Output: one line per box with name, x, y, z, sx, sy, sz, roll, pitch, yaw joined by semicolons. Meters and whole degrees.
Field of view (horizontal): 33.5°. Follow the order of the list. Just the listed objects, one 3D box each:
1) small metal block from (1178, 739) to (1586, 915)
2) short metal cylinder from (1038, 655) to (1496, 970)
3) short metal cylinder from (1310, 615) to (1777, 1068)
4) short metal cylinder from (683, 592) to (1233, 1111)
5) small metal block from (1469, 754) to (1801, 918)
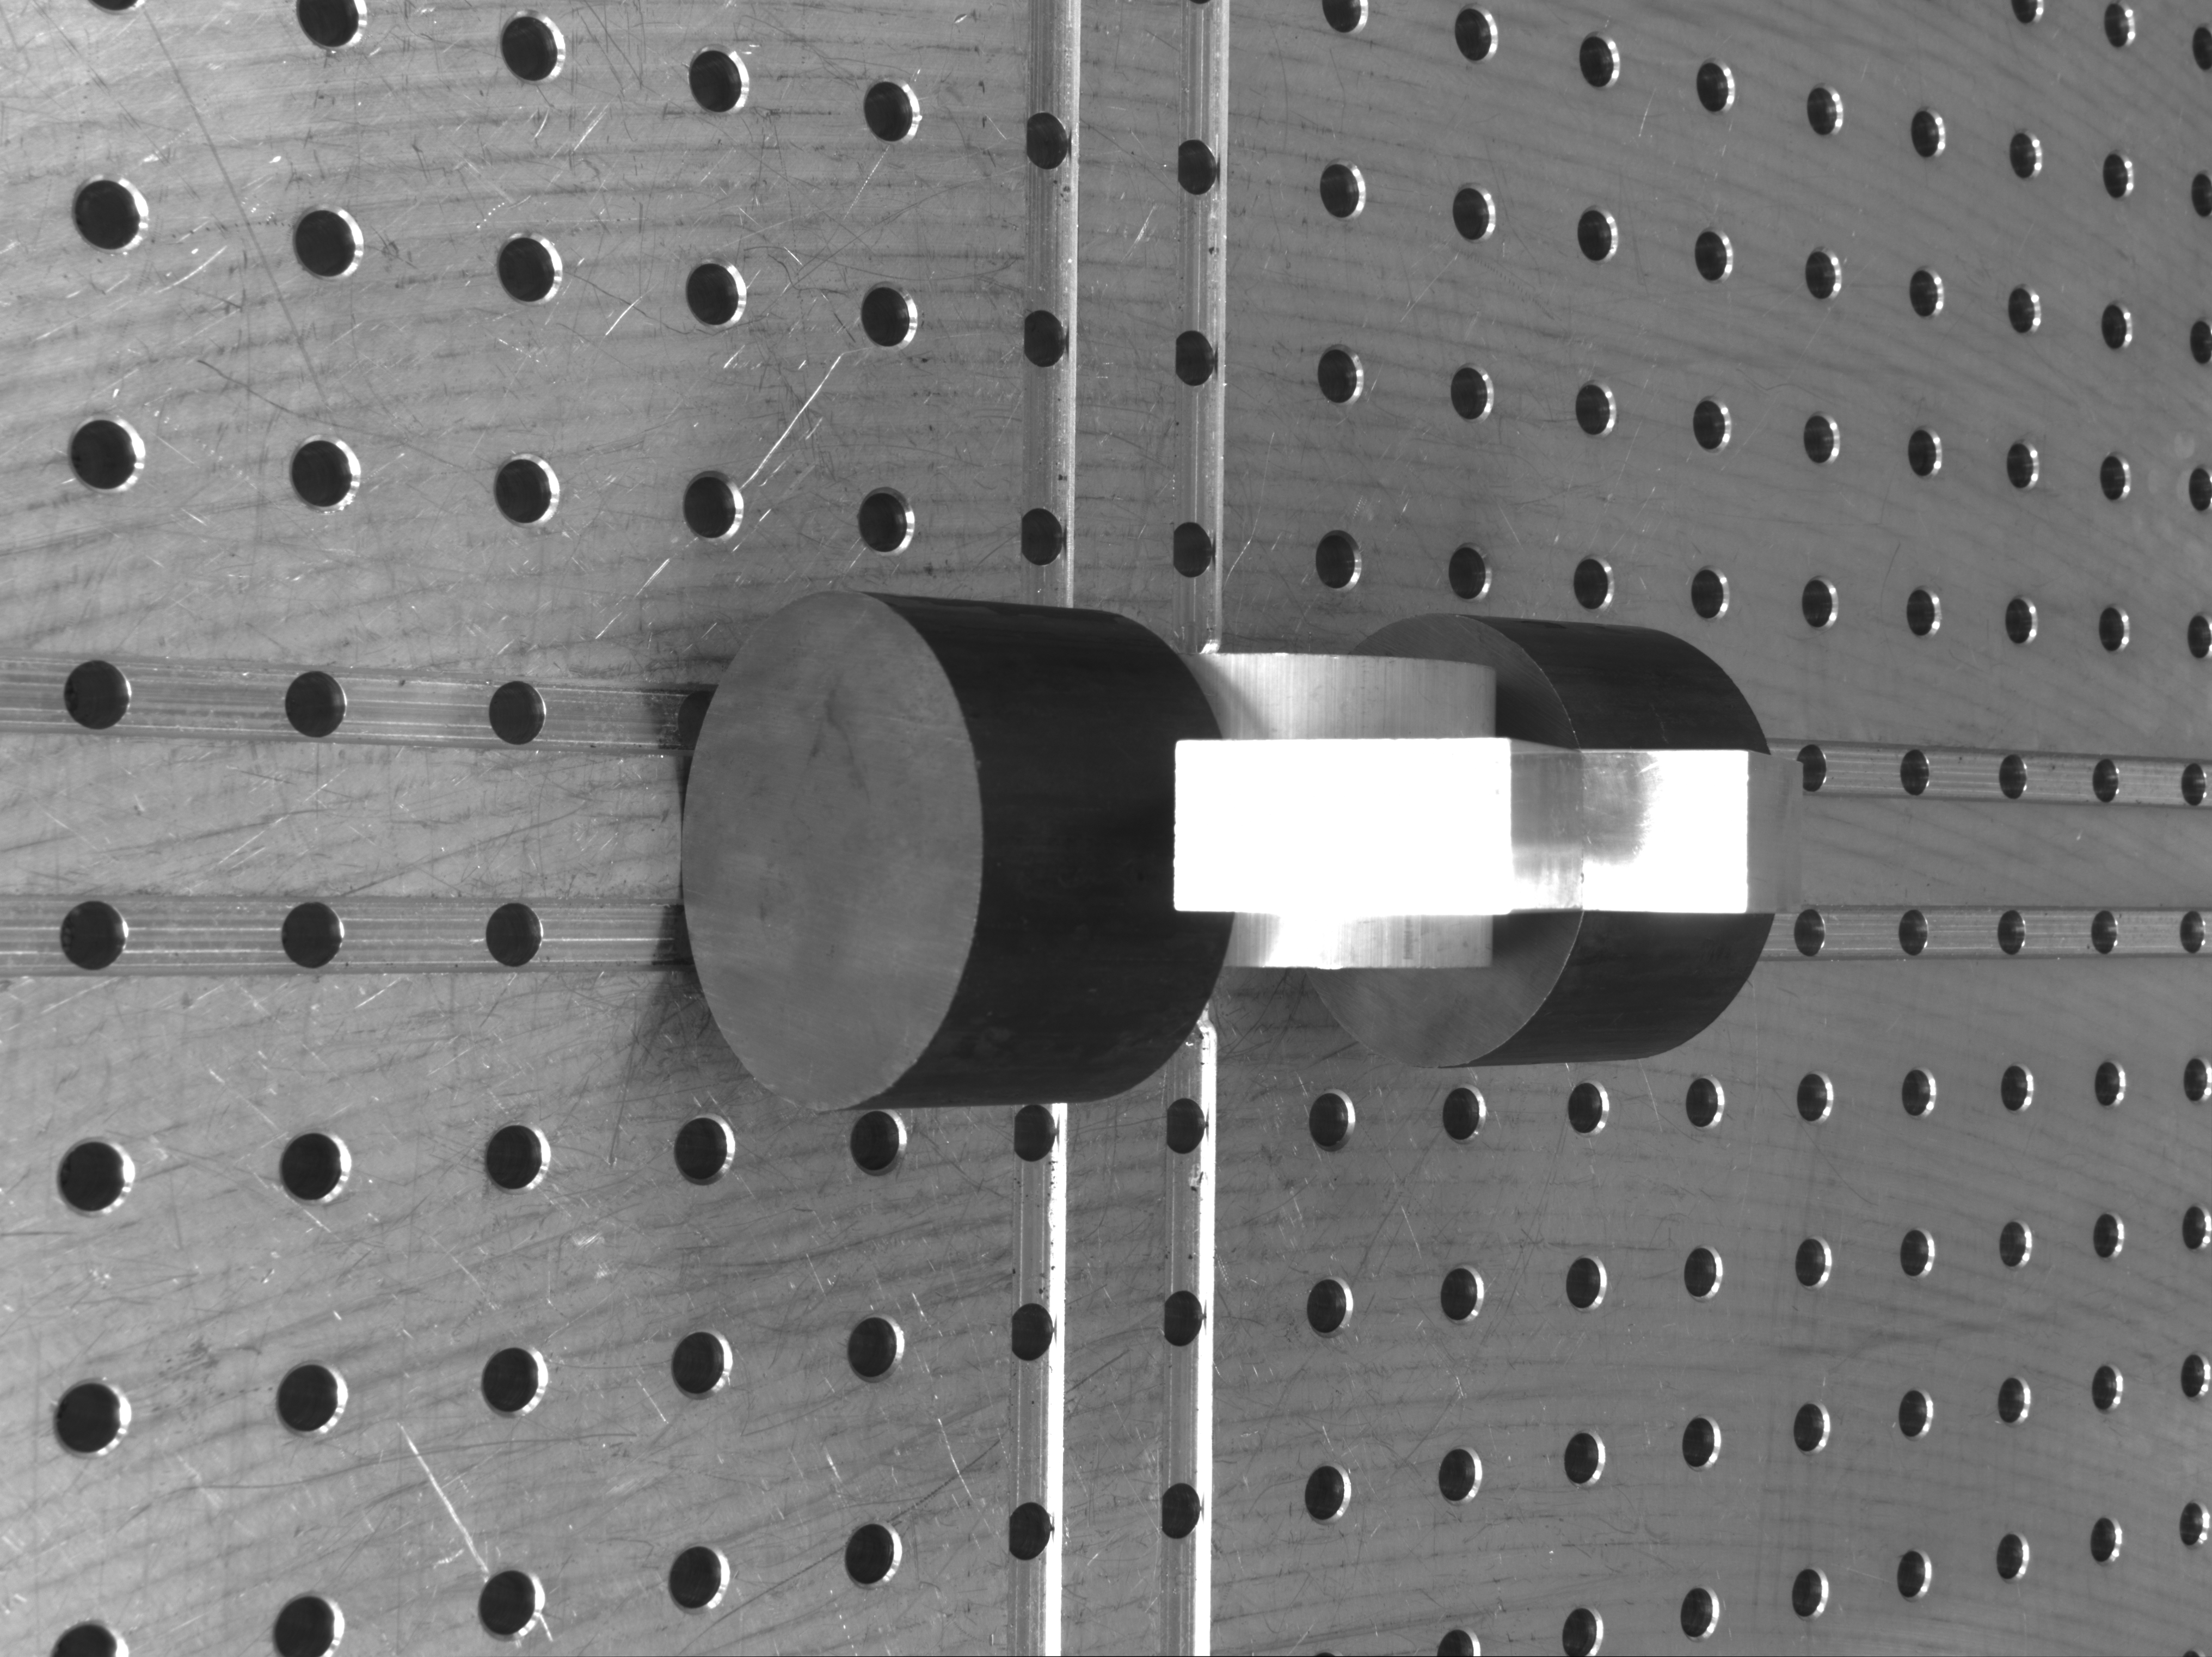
small metal block;0.042;0.000;0.553;0.050;0.050;0.025;2;88;-71
short metal cylinder;0.026;-0.002;0.625;0.080;0.080;0.050;2;89;-40
short metal cylinder;0.076;0.003;0.666;0.050;0.080;0.080;1;89;-39
short metal cylinder;-0.024;0.004;0.583;0.050;0.080;0.080;2;89;-39
small metal block;0.083;0.001;0.593;0.050;0.050;0.025;2;88;-70
